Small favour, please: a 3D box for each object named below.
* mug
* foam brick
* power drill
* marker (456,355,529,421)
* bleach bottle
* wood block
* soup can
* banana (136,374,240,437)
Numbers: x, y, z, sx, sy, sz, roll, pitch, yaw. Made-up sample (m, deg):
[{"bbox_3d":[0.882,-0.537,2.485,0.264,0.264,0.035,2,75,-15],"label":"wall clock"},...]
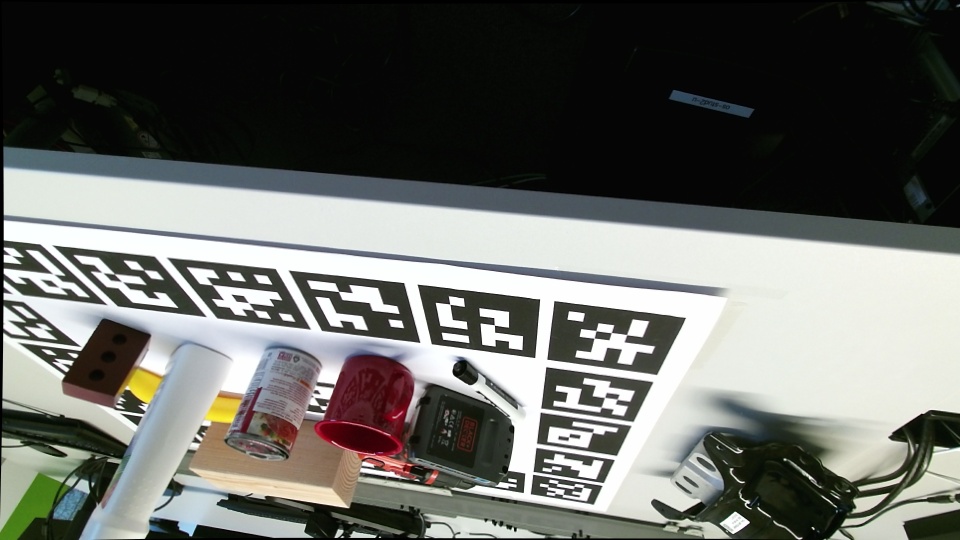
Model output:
[{"bbox_3d":[-0.106,0.143,0.559,0.093,0.081,0.117,35,134,-24],"label":"mug"},{"bbox_3d":[-0.414,0.106,0.601,0.053,0.077,0.051,25,142,-19],"label":"foam brick"},{"bbox_3d":[-0.047,0.225,0.677,0.185,0.057,0.187,25,141,-12],"label":"power drill"},{"bbox_3d":[0.014,0.124,0.561,0.020,0.019,0.121,-18,132,29],"label":"marker"},{"bbox_3d":[-0.347,0.209,0.571,0.068,0.249,0.103,23,142,-15],"label":"bleach bottle"},{"bbox_3d":[-0.277,0.271,0.763,0.207,0.090,0.090,4,140,9],"label":"wood block"},{"bbox_3d":[-0.215,0.148,0.570,0.068,0.101,0.068,9,146,6],"label":"soup can"},{"bbox_3d":[-0.359,0.192,0.720,0.198,0.038,0.074,16,128,-2],"label":"banana"}]
